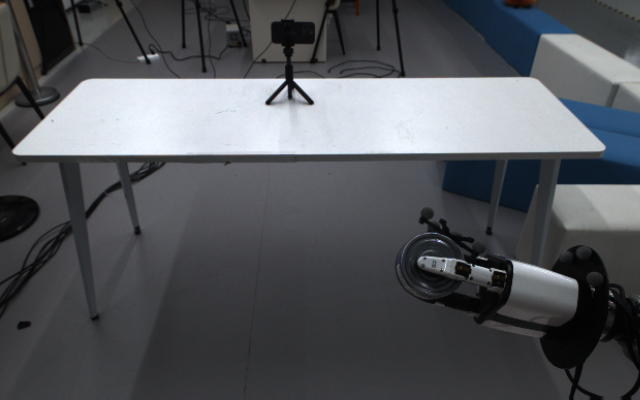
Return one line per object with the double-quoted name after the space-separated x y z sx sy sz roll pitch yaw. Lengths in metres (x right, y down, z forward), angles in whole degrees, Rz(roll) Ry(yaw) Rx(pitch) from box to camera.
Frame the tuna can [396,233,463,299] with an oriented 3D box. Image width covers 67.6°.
0.146 0.084 0.628 0.085 0.034 0.085 0 74 0 "tuna can"
